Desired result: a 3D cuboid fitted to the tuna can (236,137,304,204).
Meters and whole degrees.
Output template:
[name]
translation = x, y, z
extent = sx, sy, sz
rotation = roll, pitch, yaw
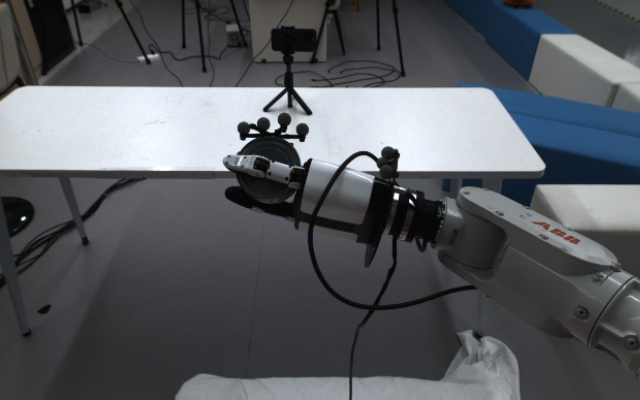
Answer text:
[tuna can]
translation = -0.066, -0.038, 0.640
extent = 0.085, 0.034, 0.085
rotation = -1, 77, 4
